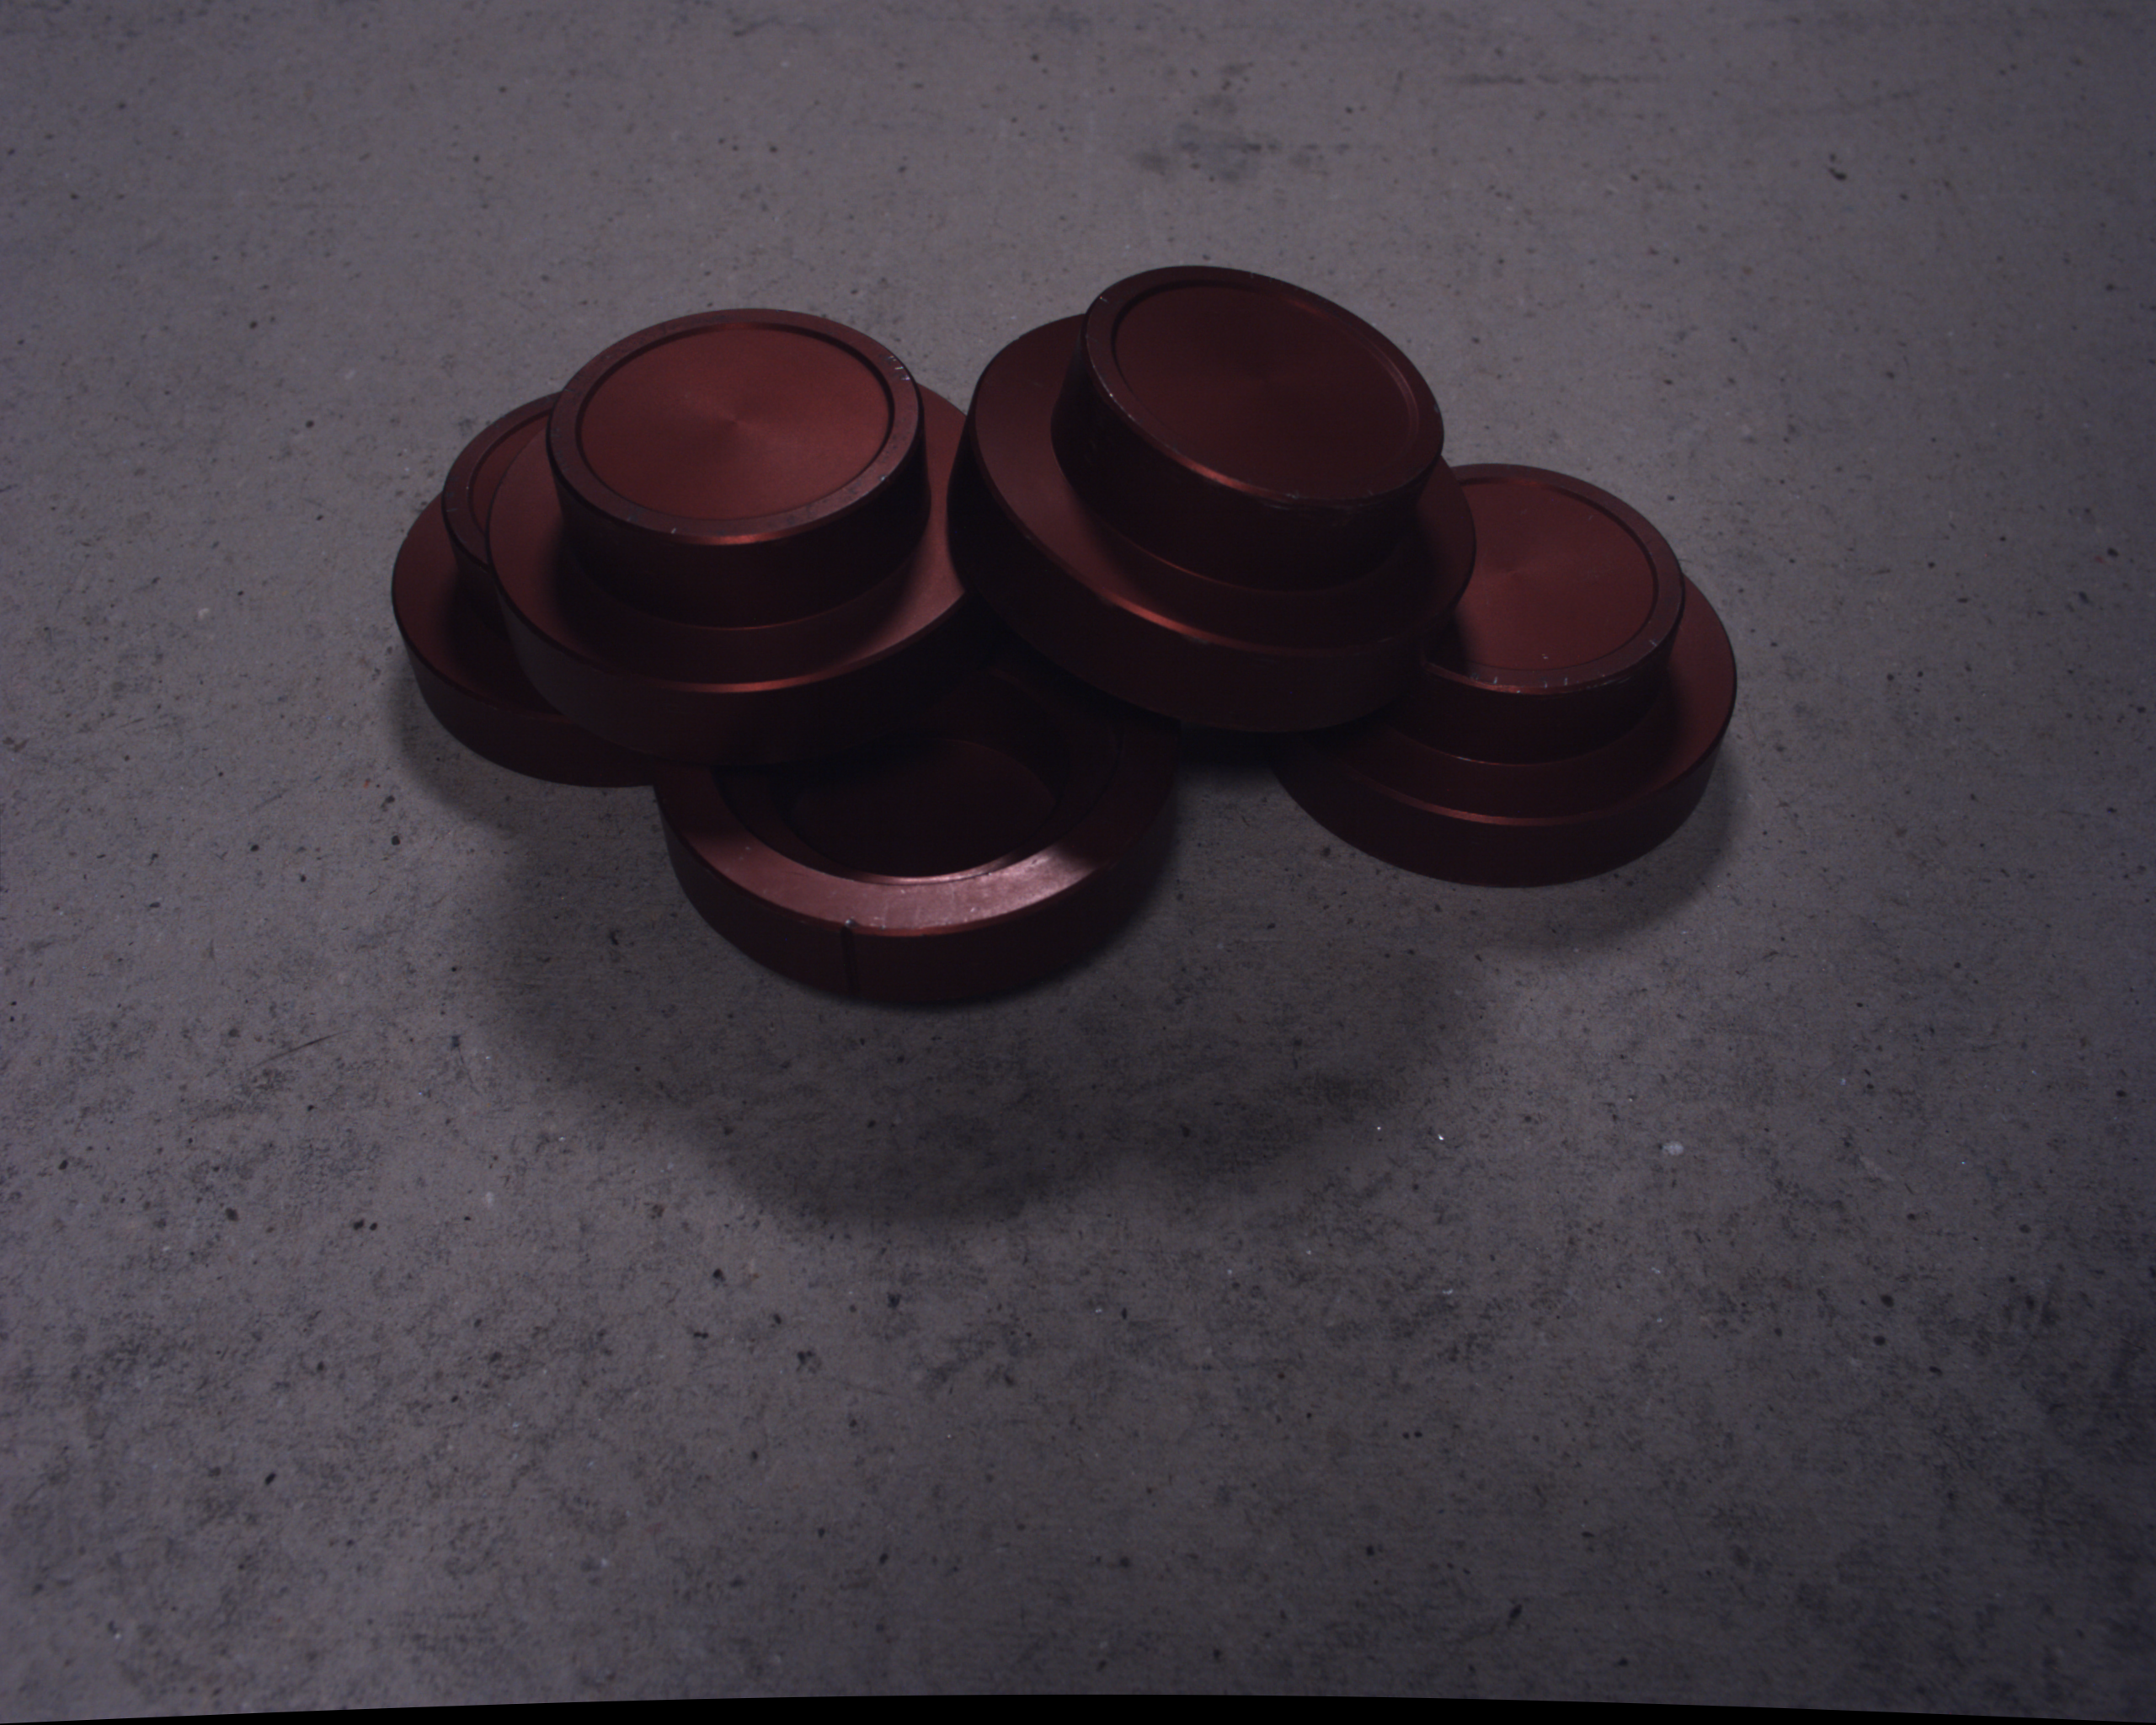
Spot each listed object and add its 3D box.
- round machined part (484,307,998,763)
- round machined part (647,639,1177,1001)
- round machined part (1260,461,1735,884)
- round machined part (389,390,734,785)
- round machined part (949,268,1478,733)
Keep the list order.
[{"bbox_3d":[-0.062,-0.068,0.395,0.099,0.042,0.098,0,50,0],"label":"round machined part"},{"bbox_3d":[-0.031,-0.012,0.403,0.099,0.042,0.098,0,50,0],"label":"round machined part"},{"bbox_3d":[0.086,-0.046,0.432,0.099,0.042,0.098,0,50,0],"label":"round machined part"},{"bbox_3d":[-0.098,-0.066,0.447,0.099,0.042,0.098,0,50,0],"label":"round machined part"},{"bbox_3d":[0.028,-0.073,0.388,0.099,0.042,0.098,9,48,-10],"label":"round machined part"}]
